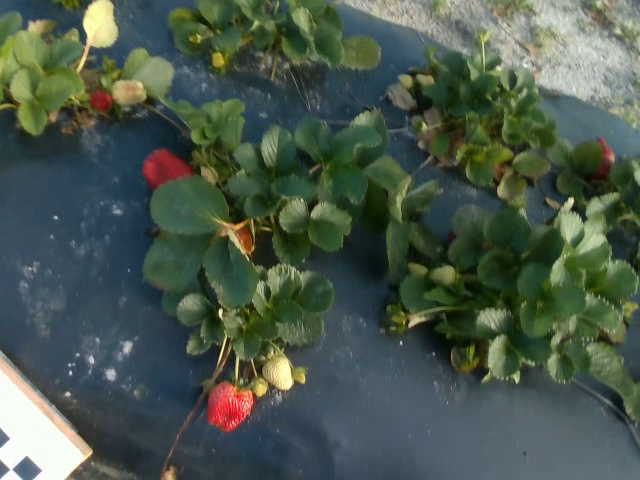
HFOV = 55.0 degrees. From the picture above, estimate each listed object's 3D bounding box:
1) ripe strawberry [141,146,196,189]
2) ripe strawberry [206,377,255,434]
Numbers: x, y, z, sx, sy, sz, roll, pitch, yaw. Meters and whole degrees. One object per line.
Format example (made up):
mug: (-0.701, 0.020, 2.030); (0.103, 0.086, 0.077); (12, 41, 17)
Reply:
ripe strawberry: (-0.188, -0.083, 0.739); (0.058, 0.070, 0.057); (-33, 22, -1)
ripe strawberry: (-0.096, 0.178, 0.627); (0.048, 0.050, 0.035); (26, -8, 2)
